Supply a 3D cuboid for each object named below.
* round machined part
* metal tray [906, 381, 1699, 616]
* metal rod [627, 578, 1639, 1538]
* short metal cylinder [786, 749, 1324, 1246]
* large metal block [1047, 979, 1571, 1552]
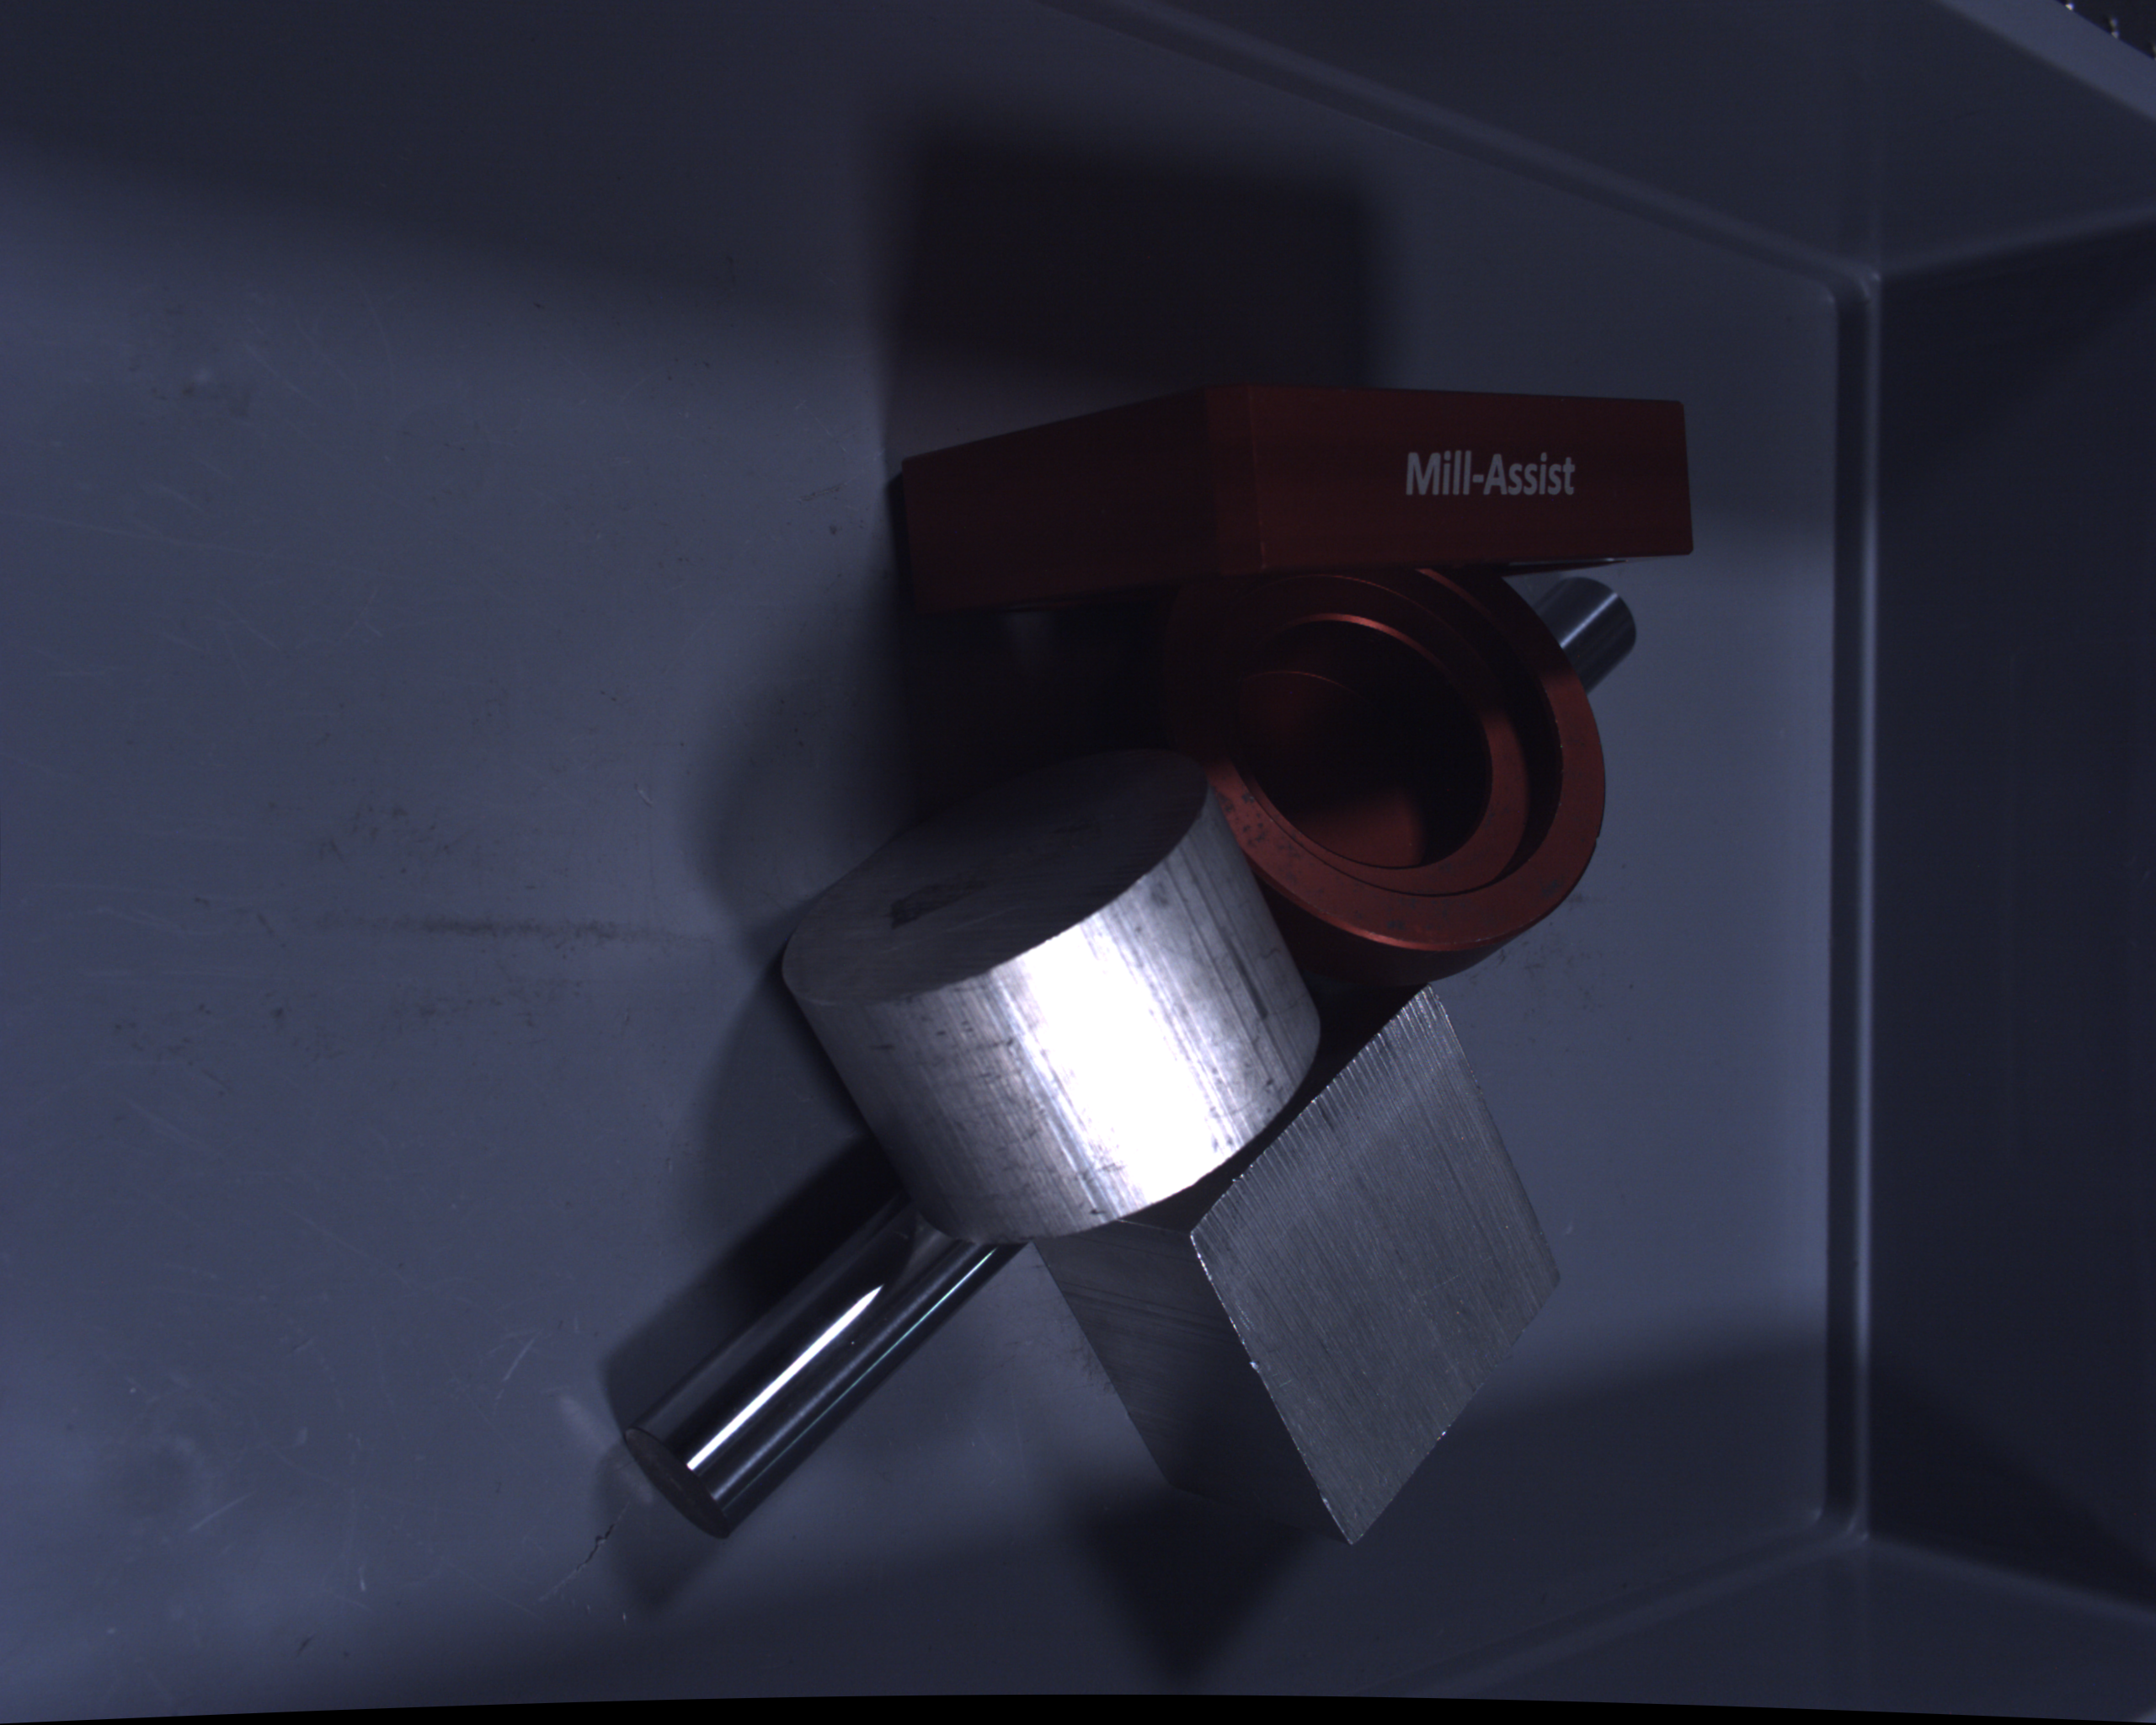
[{"bbox_3d":[0.054,-0.020,0.423,0.099,0.042,0.098,10,62,-20],"label":"round machined part"},{"bbox_3d":[0.045,-0.068,0.400,0.131,0.090,0.030,-9,96,-40],"label":"metal tray"},{"bbox_3d":[0.030,0.022,0.432,0.302,0.025,0.025,-40,115,-33],"label":"metal rod"},{"bbox_3d":[-0.004,0.022,0.368,0.080,0.080,0.050,-41,115,-33],"label":"short metal cylinder"},{"bbox_3d":[0.046,0.078,0.428,0.080,0.050,0.080,-40,115,-33],"label":"large metal block"}]
